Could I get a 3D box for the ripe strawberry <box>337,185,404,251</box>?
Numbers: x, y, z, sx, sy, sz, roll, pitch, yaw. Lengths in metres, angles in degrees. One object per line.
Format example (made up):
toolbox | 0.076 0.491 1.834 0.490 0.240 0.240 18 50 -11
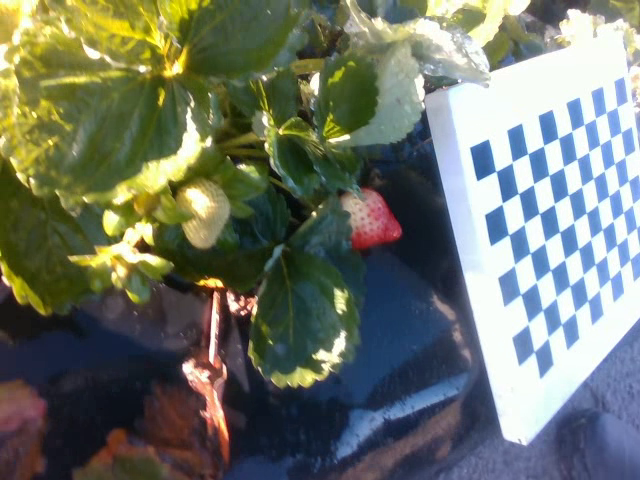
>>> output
ripe strawberry | 0.039 -0.008 0.413 0.065 0.040 0.040 26 -20 -37
